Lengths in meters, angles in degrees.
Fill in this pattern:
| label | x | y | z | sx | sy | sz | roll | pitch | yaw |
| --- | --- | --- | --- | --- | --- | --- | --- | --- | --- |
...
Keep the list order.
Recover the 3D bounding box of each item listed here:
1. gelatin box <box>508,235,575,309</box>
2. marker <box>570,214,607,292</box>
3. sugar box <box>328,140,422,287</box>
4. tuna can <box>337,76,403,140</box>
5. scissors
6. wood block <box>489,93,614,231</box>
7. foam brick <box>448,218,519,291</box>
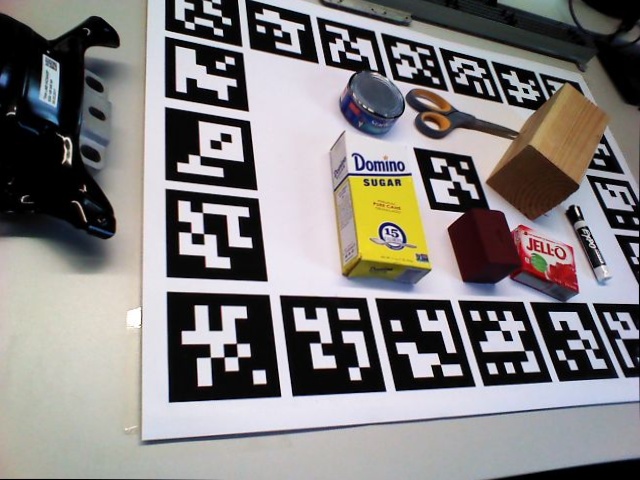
| label | x | y | z | sx | sy | sz | roll | pitch | yaw |
| --- | --- | --- | --- | --- | --- | --- | --- | --- | --- |
| gelatin box | 0.293 | 0.042 | 0.689 | 0.089 | 0.030 | 0.073 | 21 | 57 | -12 |
| marker | 0.388 | 0.016 | 0.750 | 0.019 | 0.020 | 0.120 | 6 | 63 | -22 |
| sugar box | 0.063 | -0.033 | 0.619 | 0.093 | 0.045 | 0.175 | 9 | 60 | -21 |
| tuna can | 0.068 | -0.180 | 0.706 | 0.085 | 0.034 | 0.085 | 11 | 60 | -19 |
| scissors | 0.222 | -0.169 | 0.784 | 0.202 | 0.016 | 0.087 | 11 | 59 | -16 |
| wood block | 0.350 | -0.119 | 0.772 | 0.090 | 0.091 | 0.205 | 42 | 53 | 3 |
| foam brick | 0.202 | 0.019 | 0.642 | 0.052 | 0.052 | 0.077 | 6 | 61 | -21 |
